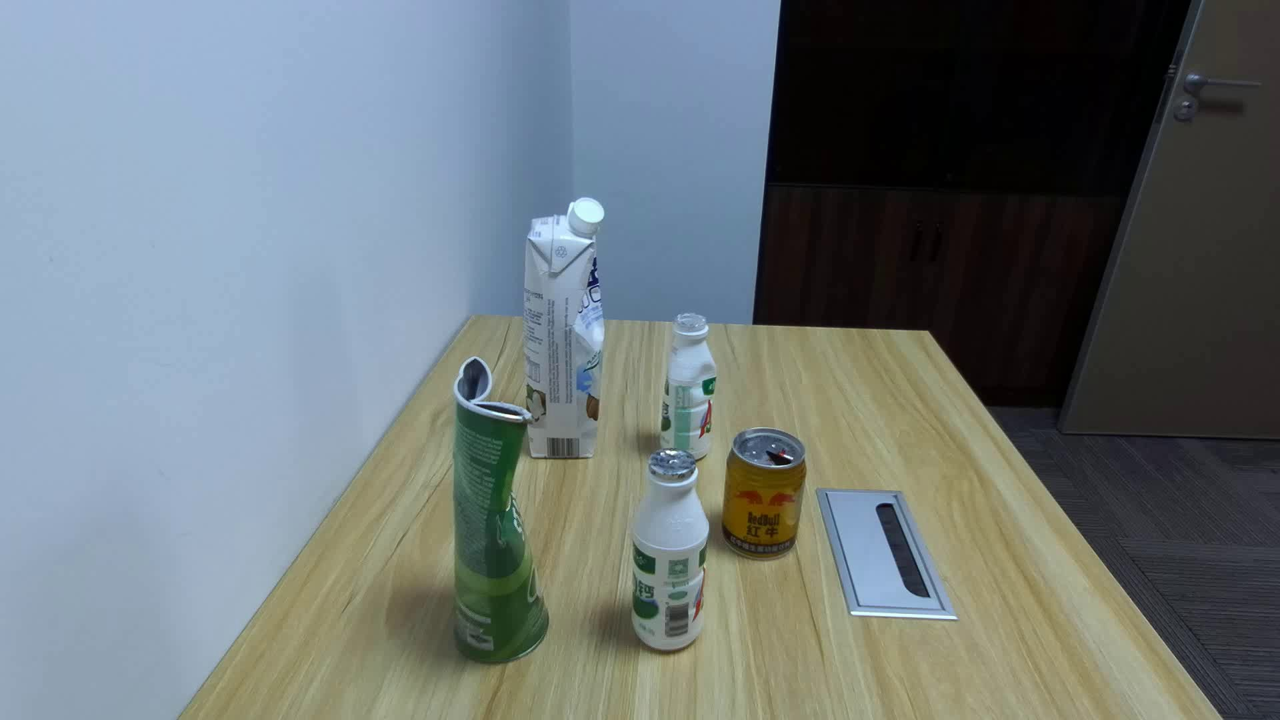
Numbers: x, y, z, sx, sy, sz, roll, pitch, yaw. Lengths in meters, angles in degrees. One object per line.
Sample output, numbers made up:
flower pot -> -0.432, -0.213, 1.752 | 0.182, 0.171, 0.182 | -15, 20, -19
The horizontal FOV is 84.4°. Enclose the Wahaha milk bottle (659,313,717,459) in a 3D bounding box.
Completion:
Wahaha milk bottle -> 0.049, 0.028, 0.696 | 0.055, 0.149, 0.055 | 2, 28, -1

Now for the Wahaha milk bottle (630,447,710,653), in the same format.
Wahaha milk bottle -> 0.021, 0.131, 0.488 | 0.053, 0.147, 0.053 | 1, 28, 0

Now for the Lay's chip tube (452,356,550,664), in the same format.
Lay's chip tube -> -0.101, 0.107, 0.477 | 0.077, 0.201, 0.069 | 17, 30, 25

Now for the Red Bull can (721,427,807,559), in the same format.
Red Bull can -> 0.104, 0.111, 0.595 | 0.067, 0.093, 0.067 | 2, 26, -1
